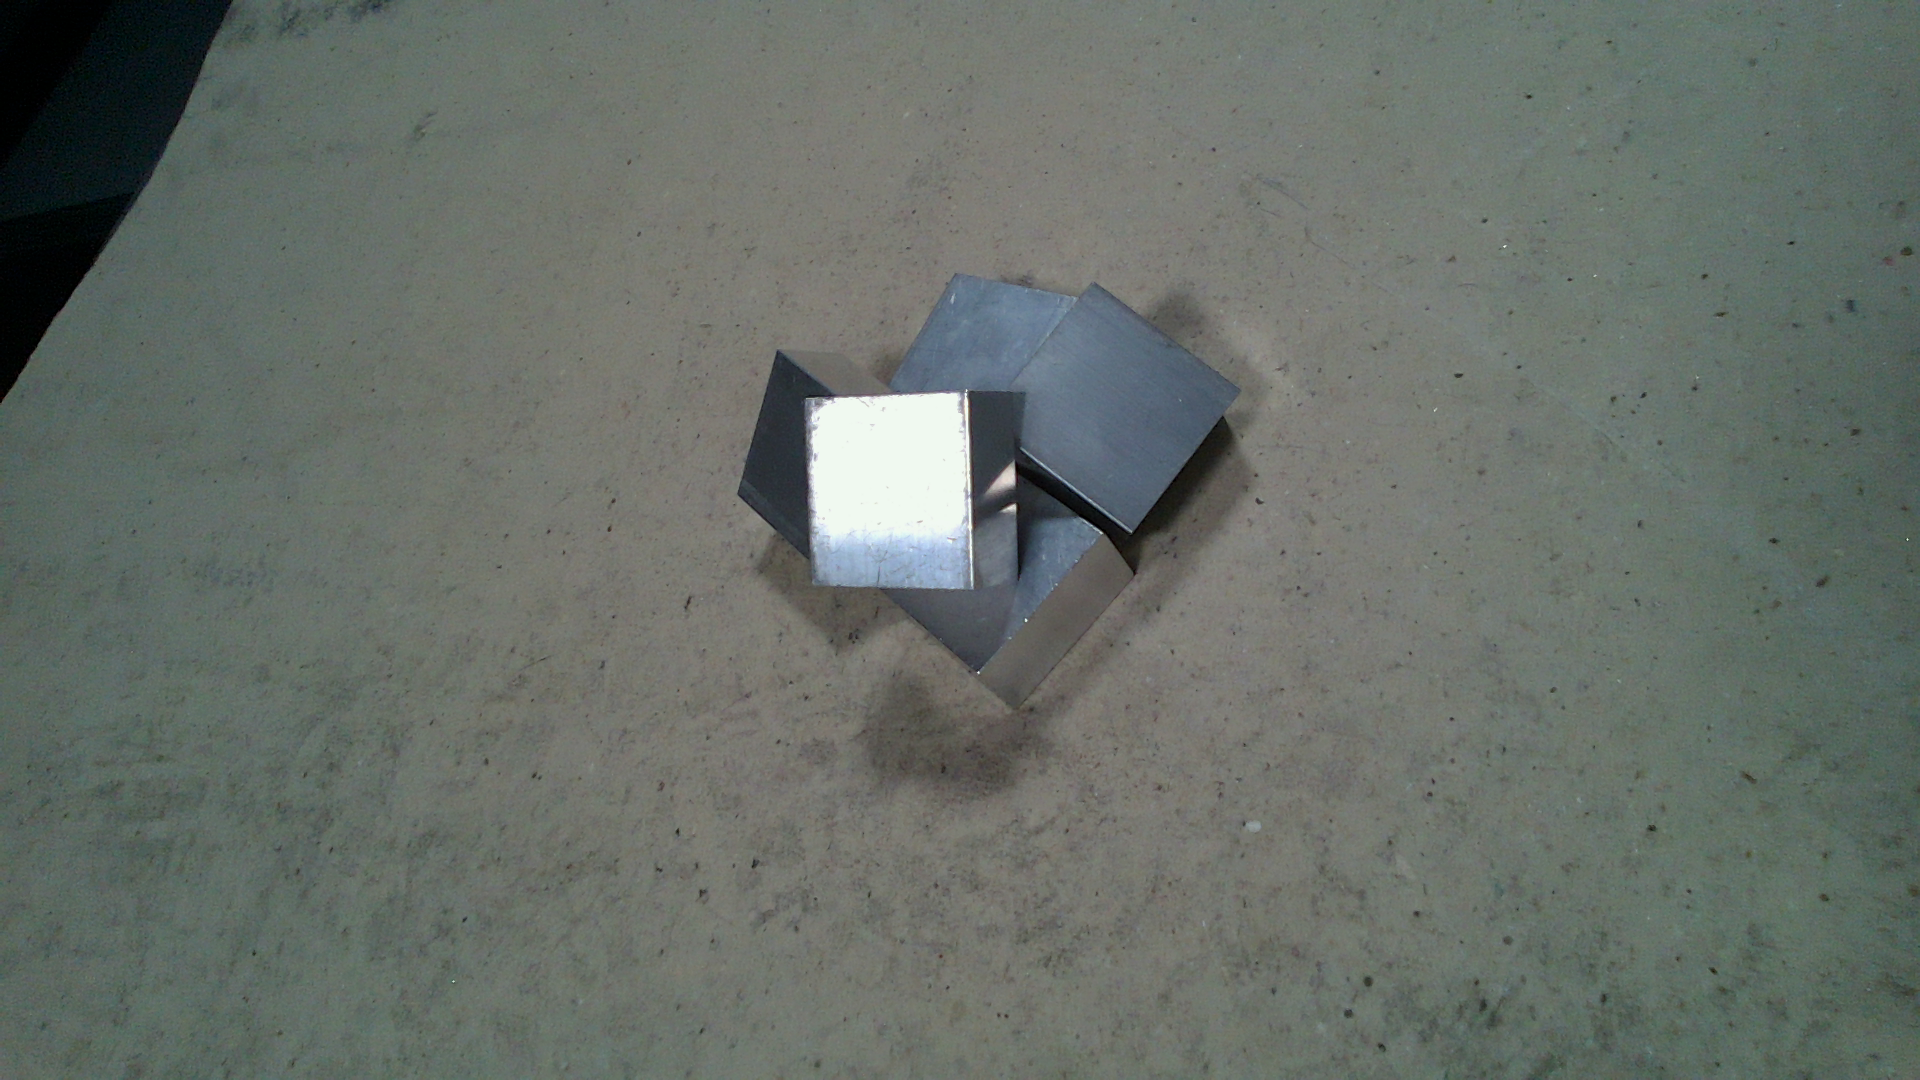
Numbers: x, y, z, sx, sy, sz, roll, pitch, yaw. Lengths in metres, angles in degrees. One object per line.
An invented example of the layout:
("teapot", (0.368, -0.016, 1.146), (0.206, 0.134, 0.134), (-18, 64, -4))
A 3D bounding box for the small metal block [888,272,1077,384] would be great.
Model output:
("small metal block", (0.011, -0.051, 0.420), (0.050, 0.025, 0.050), (19, 72, 35))

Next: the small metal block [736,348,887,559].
("small metal block", (-0.038, -0.024, 0.415), (0.050, 0.025, 0.050), (38, 119, 38))

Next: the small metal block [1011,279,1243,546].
("small metal block", (0.041, -0.034, 0.379), (0.050, 0.025, 0.050), (37, 81, 5))

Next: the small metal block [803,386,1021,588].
("small metal block", (-0.013, -0.014, 0.362), (0.050, 0.025, 0.050), (0, 94, 29))

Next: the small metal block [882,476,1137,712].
("small metal block", (0.011, 0.010, 0.382), (0.050, 0.025, 0.050), (-48, 51, -6))
